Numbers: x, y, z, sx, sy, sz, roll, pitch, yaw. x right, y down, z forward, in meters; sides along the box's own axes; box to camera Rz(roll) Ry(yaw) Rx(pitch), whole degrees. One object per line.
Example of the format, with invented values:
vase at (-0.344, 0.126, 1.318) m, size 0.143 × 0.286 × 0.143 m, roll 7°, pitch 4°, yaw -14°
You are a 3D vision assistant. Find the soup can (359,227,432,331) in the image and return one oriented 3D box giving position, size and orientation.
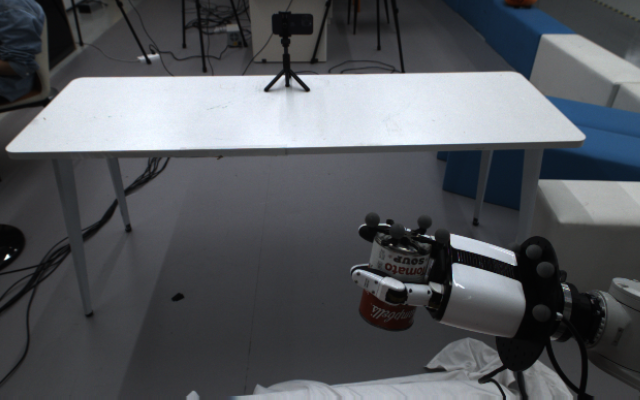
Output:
soup can at (0.089, 0.093, 0.571) m, size 0.067 × 0.101 × 0.067 m, roll 9°, pitch 19°, yaw -3°
